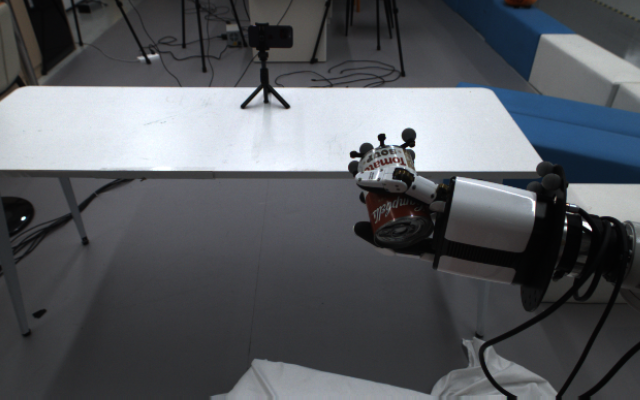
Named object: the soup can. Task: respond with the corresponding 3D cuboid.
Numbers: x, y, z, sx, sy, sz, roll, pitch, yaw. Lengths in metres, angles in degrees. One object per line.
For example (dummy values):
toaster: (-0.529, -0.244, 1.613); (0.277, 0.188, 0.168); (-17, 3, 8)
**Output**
soup can: (0.087, -0.005, 0.561); (0.067, 0.067, 0.101); (-5, 57, -10)
